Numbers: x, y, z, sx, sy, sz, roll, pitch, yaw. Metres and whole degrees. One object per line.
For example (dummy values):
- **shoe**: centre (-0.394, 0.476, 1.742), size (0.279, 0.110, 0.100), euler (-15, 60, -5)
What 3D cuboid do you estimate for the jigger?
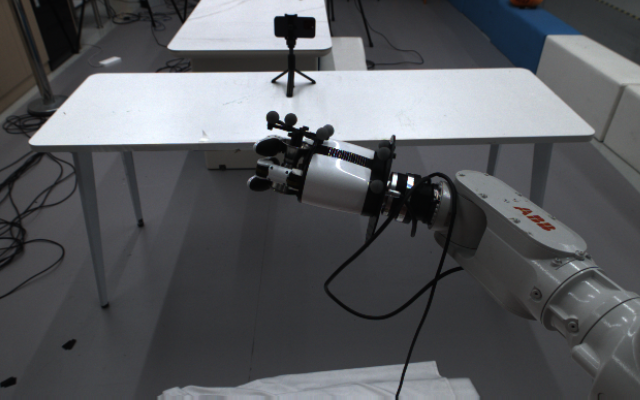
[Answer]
- **jigger**: centre (-0.040, -0.047, 0.675), size (0.043, 0.071, 0.043), euler (15, 17, -5)
